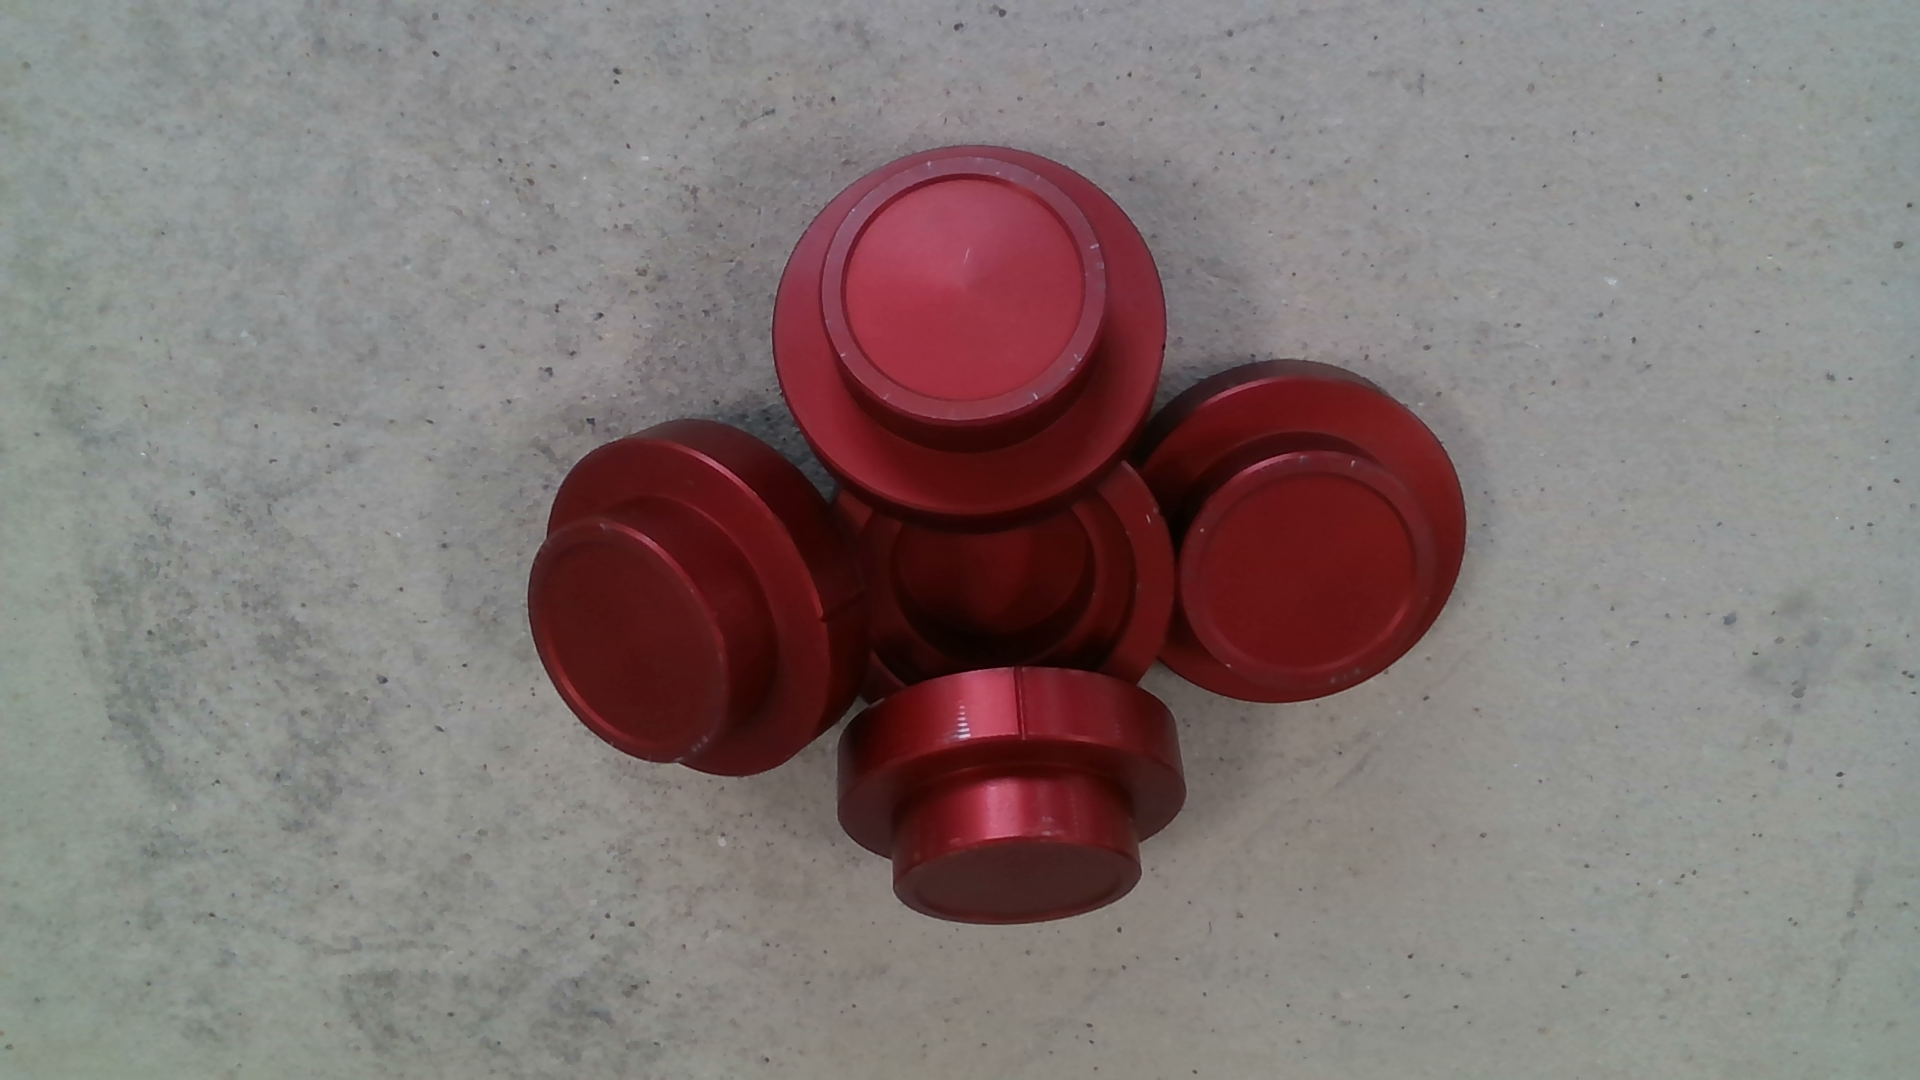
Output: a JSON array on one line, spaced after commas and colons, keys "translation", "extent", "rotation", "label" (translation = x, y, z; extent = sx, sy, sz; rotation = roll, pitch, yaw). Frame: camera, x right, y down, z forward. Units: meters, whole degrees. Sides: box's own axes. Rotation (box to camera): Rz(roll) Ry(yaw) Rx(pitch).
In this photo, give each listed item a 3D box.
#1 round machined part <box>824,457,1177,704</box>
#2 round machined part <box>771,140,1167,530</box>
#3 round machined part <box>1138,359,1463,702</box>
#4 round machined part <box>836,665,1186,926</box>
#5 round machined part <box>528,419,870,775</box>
[{"translation": [0.009, 0.006, 0.387], "extent": [0.098, 0.042, 0.098], "rotation": [0, 108, -1], "label": "round machined part"}, {"translation": [0.002, -0.055, 0.339], "extent": [0.098, 0.042, 0.098], "rotation": [-1, 77, 4], "label": "round machined part"}, {"translation": [0.092, 0.002, 0.385], "extent": [0.098, 0.042, 0.098], "rotation": [-1, 110, -1], "label": "round machined part"}, {"translation": [0.015, 0.077, 0.386], "extent": [0.098, 0.042, 0.098], "rotation": [-3, 146, -2], "label": "round machined part"}, {"translation": [-0.076, 0.020, 0.369], "extent": [0.098, 0.042, 0.098], "rotation": [13, 116, 28], "label": "round machined part"}]
